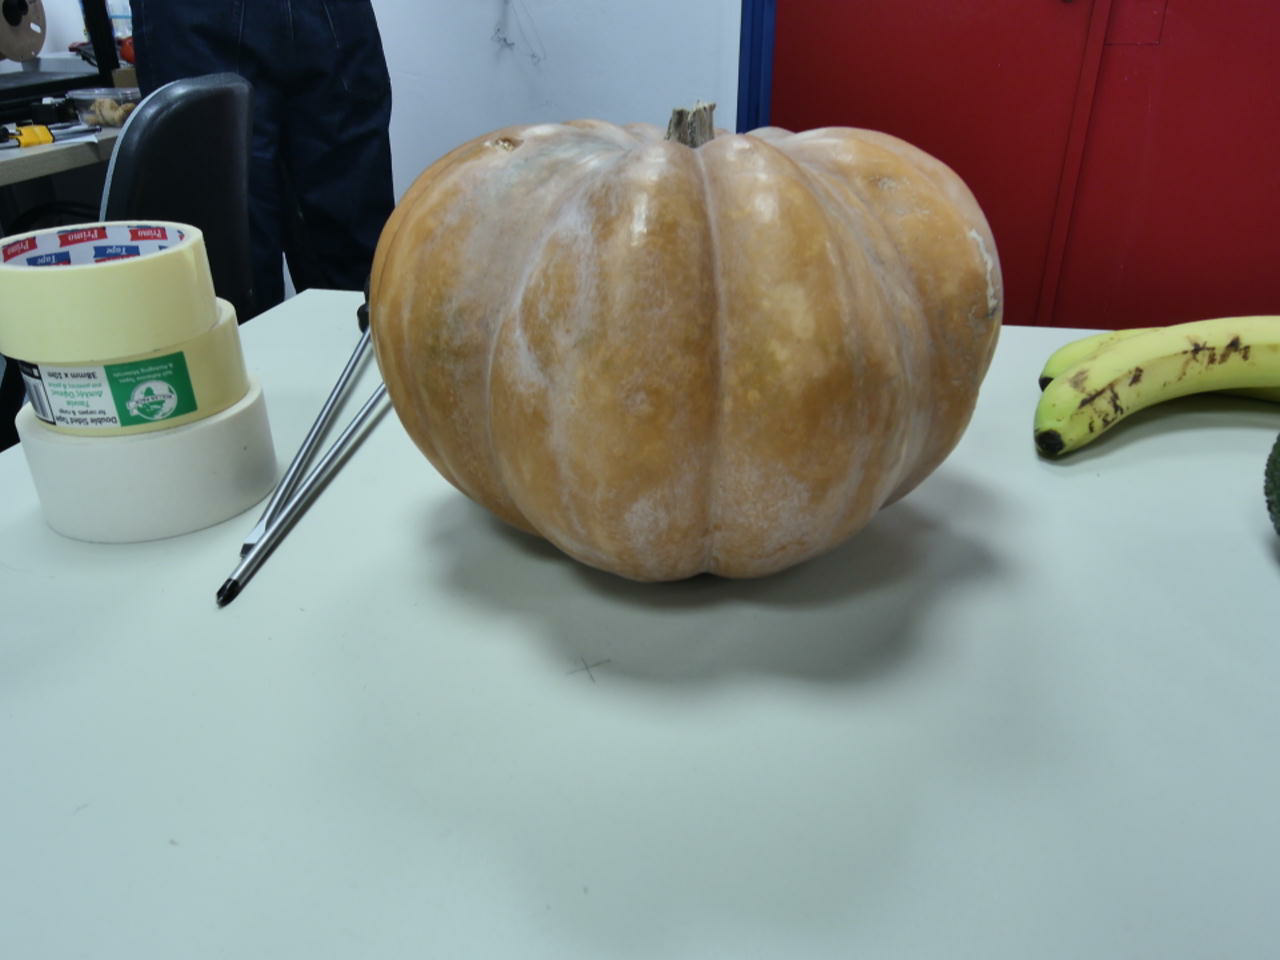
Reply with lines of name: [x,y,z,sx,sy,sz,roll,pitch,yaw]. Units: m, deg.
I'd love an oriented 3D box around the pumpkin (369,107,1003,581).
pumpkin: [0.017,-0.068,0.436,0.277,0.181,0.277,0,25,0]
